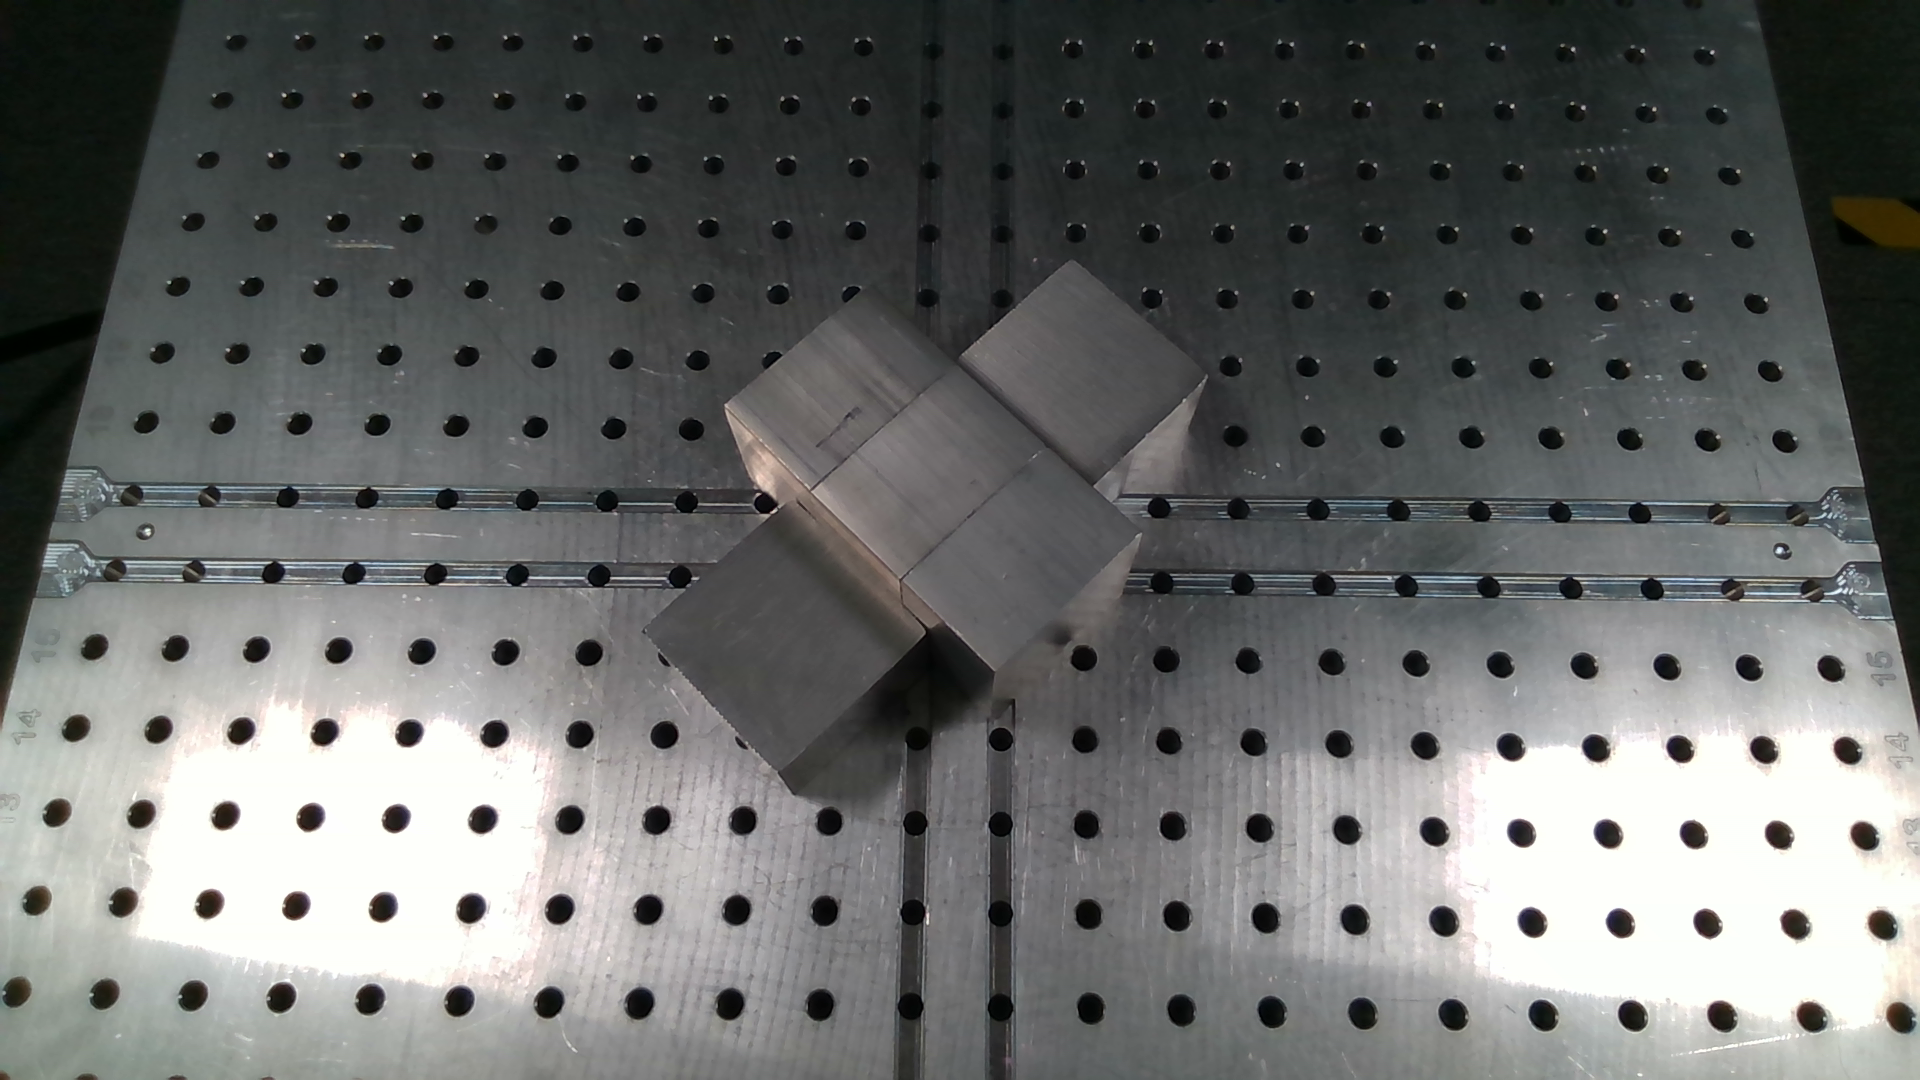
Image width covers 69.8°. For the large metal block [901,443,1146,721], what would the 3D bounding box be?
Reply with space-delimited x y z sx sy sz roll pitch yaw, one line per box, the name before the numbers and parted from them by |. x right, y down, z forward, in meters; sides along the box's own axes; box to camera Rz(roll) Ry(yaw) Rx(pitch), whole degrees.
large metal block | 0.024 0.019 0.555 0.080 0.080 0.050 -43 75 -14

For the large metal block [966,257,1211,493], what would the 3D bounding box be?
large metal block | 0.048 -0.060 0.596 0.080 0.050 0.080 43 76 15

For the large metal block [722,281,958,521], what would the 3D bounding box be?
large metal block | -0.047 -0.048 0.579 0.080 0.080 0.050 -43 75 -14

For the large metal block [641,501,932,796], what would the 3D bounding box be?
large metal block | -0.068 0.044 0.561 0.080 0.050 0.080 -42 75 -14

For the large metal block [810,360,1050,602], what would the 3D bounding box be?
large metal block | -0.011 -0.015 0.567 0.080 0.080 0.050 -43 75 -14
